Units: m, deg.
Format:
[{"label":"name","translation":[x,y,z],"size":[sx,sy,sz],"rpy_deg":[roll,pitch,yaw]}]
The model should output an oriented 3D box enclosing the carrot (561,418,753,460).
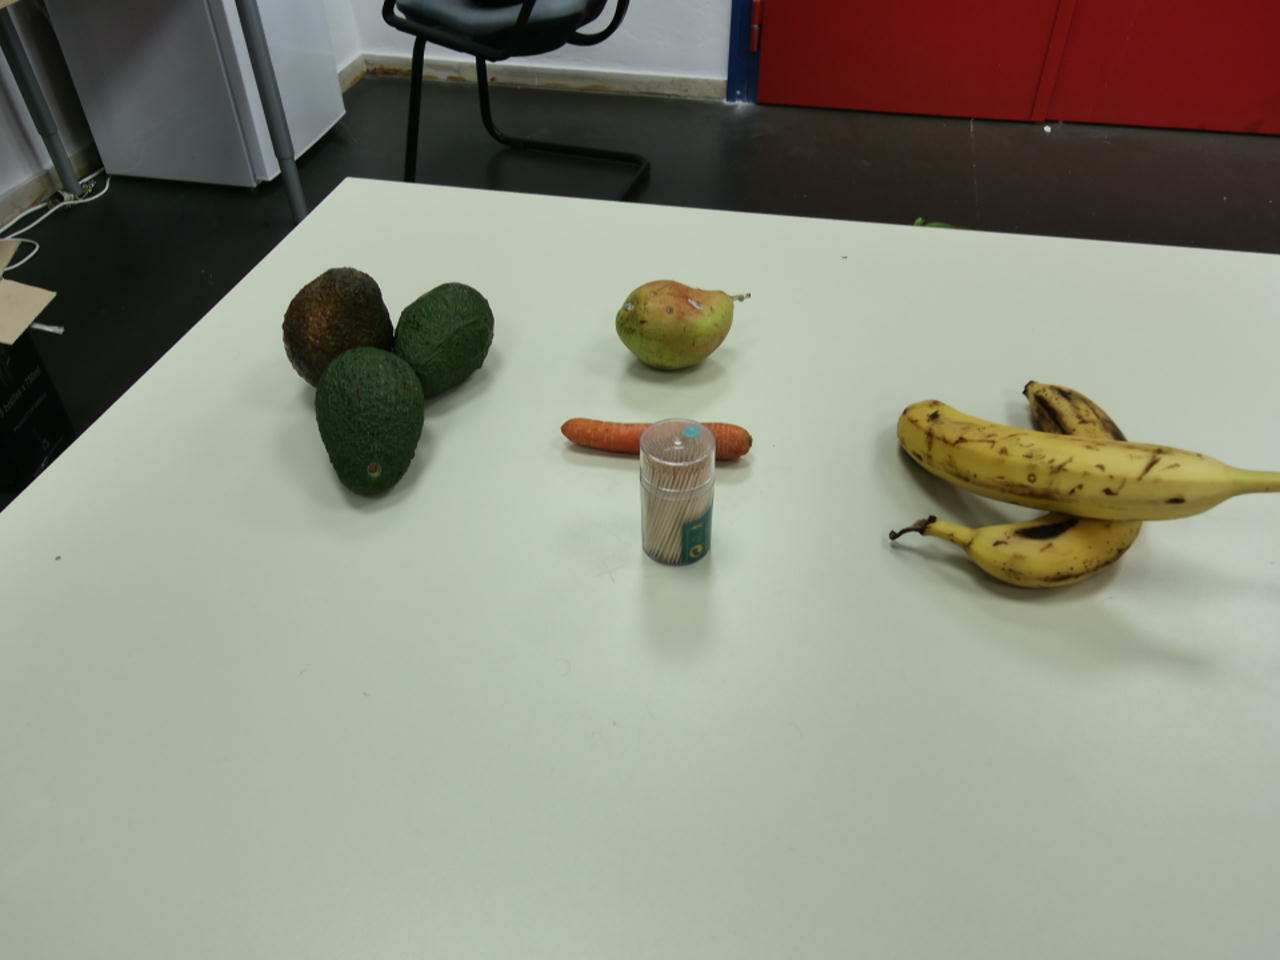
[{"label":"carrot","translation":[0.010,-0.028,0.628],"size":[0.122,0.023,0.024],"rpy_deg":[6,39,8]}]
